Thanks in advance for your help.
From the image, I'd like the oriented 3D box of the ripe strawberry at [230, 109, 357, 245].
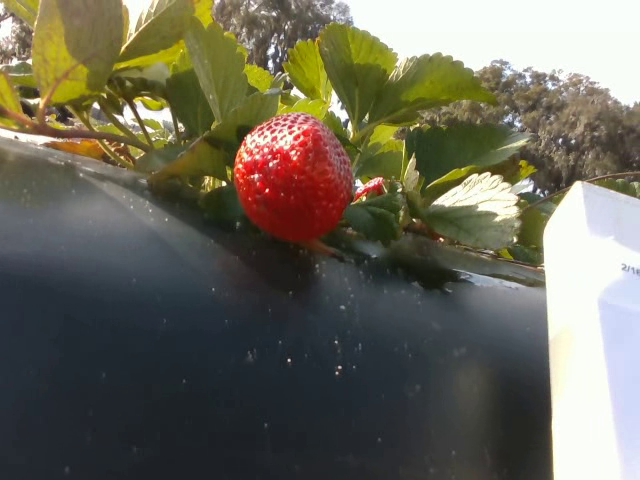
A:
[{"bbox_3d":[-0.005,-0.020,0.155,0.041,0.041,0.047,-11,-7,-12],"label":"ripe strawberry"}]
